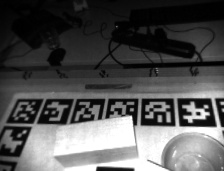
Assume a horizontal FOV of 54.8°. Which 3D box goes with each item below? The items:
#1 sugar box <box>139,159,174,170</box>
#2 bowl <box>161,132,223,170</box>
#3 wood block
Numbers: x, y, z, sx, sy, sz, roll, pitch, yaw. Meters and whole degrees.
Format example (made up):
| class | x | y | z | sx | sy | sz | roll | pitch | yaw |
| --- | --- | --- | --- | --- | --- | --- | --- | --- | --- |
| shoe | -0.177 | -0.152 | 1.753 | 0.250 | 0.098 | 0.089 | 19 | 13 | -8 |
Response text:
| class | x | y | z | sx | sy | sz | roll | pitch | yaw |
| --- | --- | --- | --- | --- | --- | --- | --- | --- | --- |
| sugar box | 0.103 | 0.209 | 0.437 | 0.092 | 0.178 | 0.045 | 14 | 57 | 27 |
| bowl | 0.201 | 0.184 | 0.522 | 0.161 | 0.056 | 0.161 | -8 | 48 | 10 |
| wood block | -0.049 | 0.147 | 0.586 | 0.206 | 0.090 | 0.090 | -8 | 53 | 4 |
